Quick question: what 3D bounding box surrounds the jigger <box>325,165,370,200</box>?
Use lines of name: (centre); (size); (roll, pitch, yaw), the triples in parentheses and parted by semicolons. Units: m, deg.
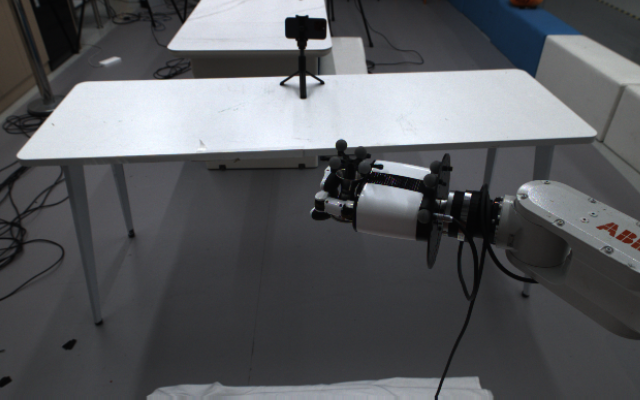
jigger: (0.041, -0.006, 0.699); (0.043, 0.071, 0.043); (6, 26, -3)
